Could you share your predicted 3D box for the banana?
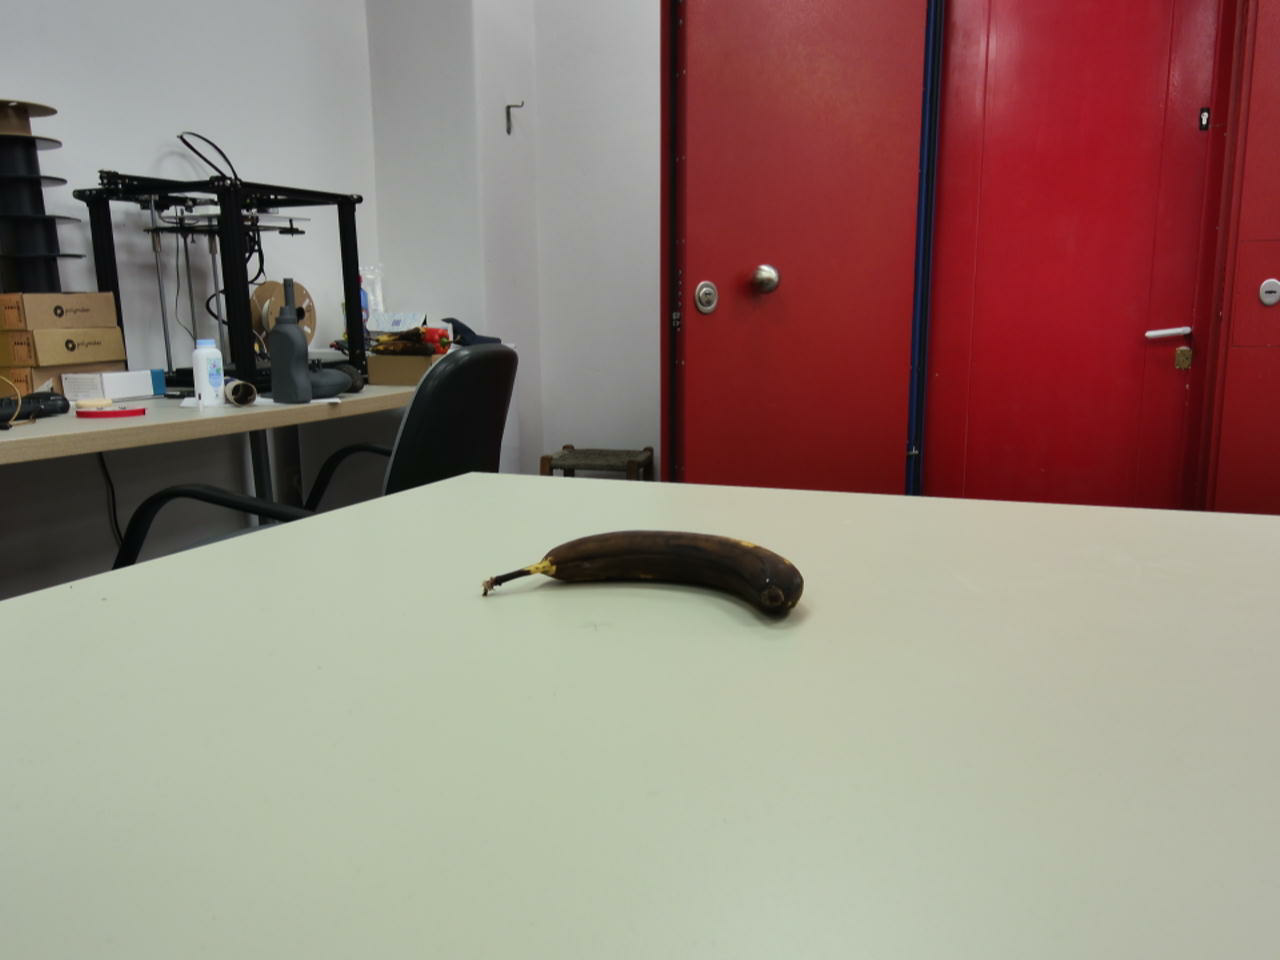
[{"bbox_3d":[0.009,0.052,0.595,0.188,0.033,0.091,3,8,24],"label":"banana"}]
